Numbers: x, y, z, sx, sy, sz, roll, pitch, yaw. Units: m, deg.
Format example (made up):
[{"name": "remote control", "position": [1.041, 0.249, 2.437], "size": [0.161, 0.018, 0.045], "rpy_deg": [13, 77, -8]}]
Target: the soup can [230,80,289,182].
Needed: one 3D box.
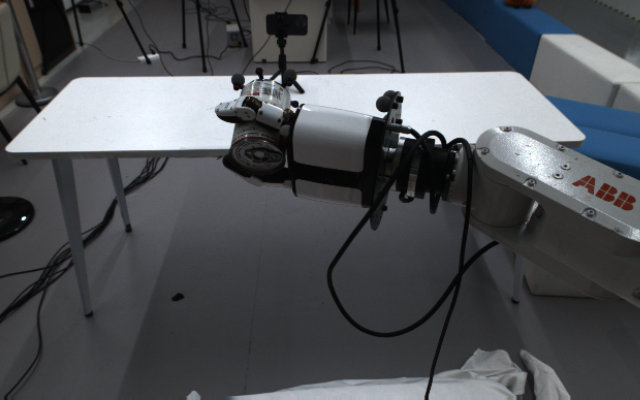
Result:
[{"name": "soup can", "position": [-0.072, -0.091, 0.597], "size": [0.067, 0.067, 0.101], "rpy_deg": [3, 57, 1]}]
